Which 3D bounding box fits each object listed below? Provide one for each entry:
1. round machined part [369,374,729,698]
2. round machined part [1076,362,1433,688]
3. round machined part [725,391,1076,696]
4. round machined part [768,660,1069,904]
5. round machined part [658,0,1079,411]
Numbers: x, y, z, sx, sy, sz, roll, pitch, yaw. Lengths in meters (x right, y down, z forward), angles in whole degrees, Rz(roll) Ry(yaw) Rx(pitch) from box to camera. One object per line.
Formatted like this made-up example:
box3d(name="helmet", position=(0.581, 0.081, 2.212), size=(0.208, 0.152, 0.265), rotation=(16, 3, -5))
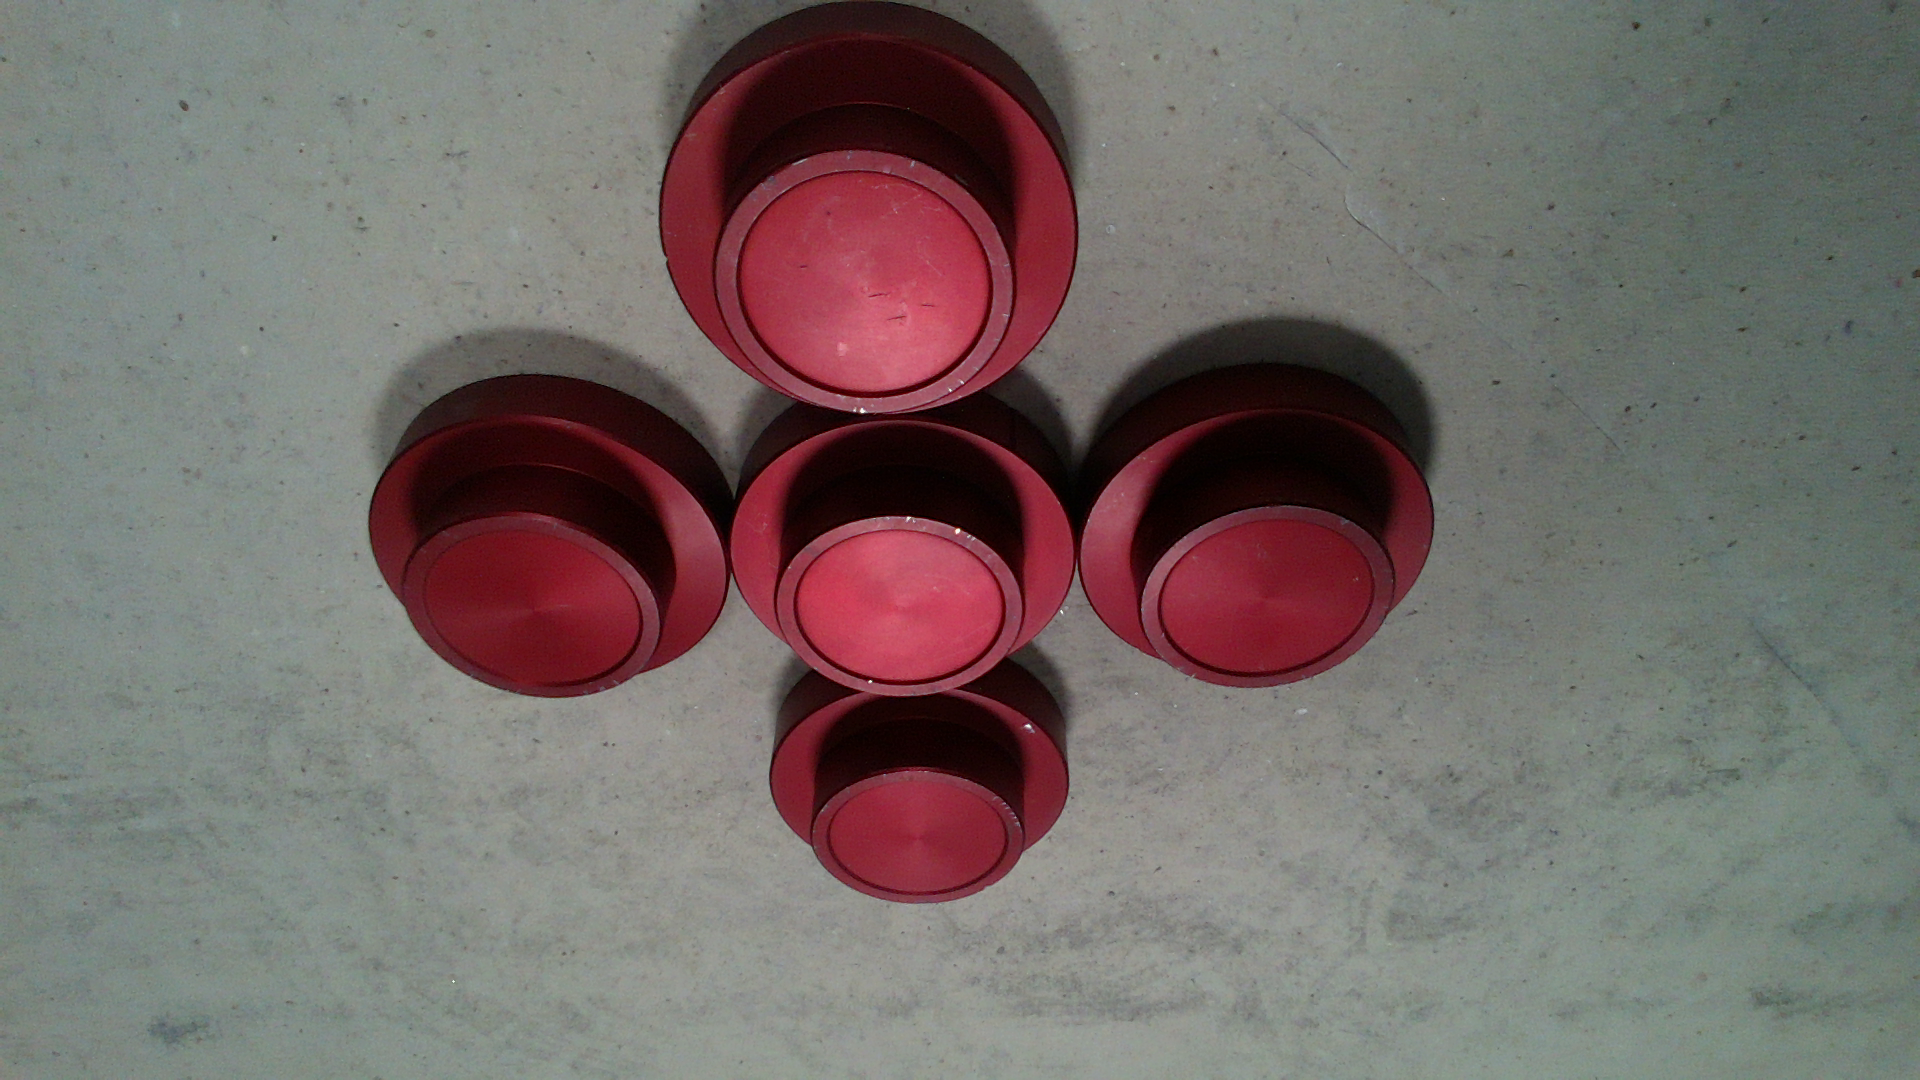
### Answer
box3d(name="round machined part", position=(-0.114, 0.006, 0.384), size=(0.098, 0.042, 0.098), rotation=(0, 130, 0))
box3d(name="round machined part", position=(0.082, 0.003, 0.383), size=(0.098, 0.042, 0.098), rotation=(0, 130, 0))
box3d(name="round machined part", position=(-0.016, 0.006, 0.384), size=(0.098, 0.042, 0.098), rotation=(0, 130, 0))
box3d(name="round machined part", position=(-0.013, 0.081, 0.448), size=(0.098, 0.042, 0.098), rotation=(0, 130, 0))
box3d(name="round machined part", position=(-0.021, -0.070, 0.321), size=(0.098, 0.042, 0.098), rotation=(0, 130, 0))
